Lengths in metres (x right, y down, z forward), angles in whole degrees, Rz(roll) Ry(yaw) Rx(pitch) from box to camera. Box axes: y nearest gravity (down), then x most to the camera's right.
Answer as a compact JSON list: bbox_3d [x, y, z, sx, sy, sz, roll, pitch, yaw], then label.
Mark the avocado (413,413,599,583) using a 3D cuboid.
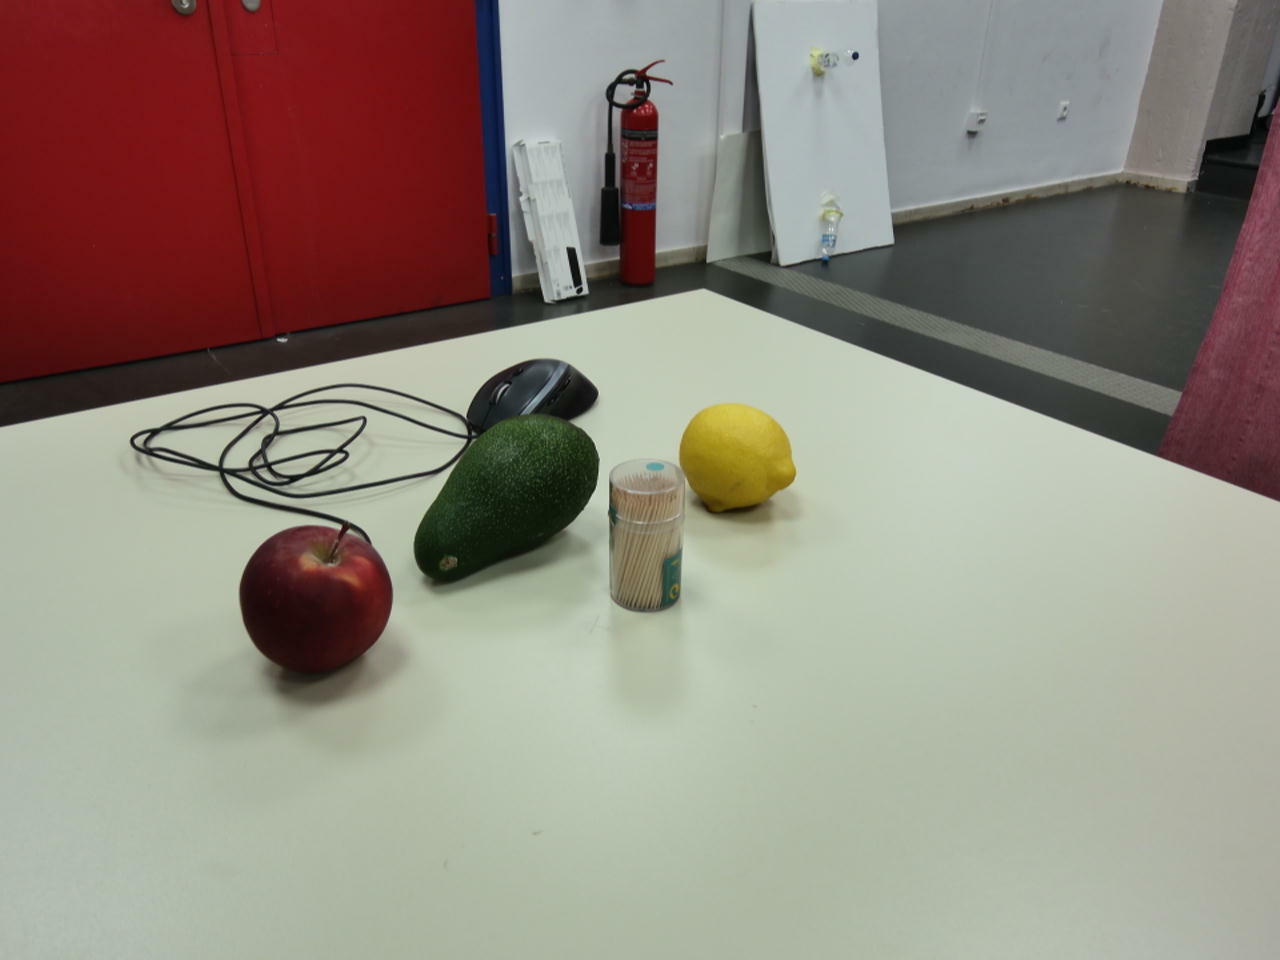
[{"bbox_3d":[-0.080,0.004,0.575,0.123,0.076,0.074,-14,29,-28],"label":"avocado"}]
